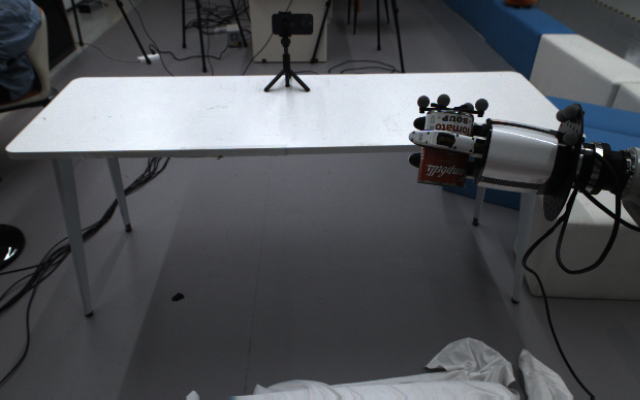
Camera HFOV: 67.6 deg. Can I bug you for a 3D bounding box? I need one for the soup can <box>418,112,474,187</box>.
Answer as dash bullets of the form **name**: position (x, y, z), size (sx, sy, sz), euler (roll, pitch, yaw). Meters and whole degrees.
- **soup can**: position (0.179, -0.072, 0.684), size (0.067, 0.101, 0.067), euler (7, 3, 0)
